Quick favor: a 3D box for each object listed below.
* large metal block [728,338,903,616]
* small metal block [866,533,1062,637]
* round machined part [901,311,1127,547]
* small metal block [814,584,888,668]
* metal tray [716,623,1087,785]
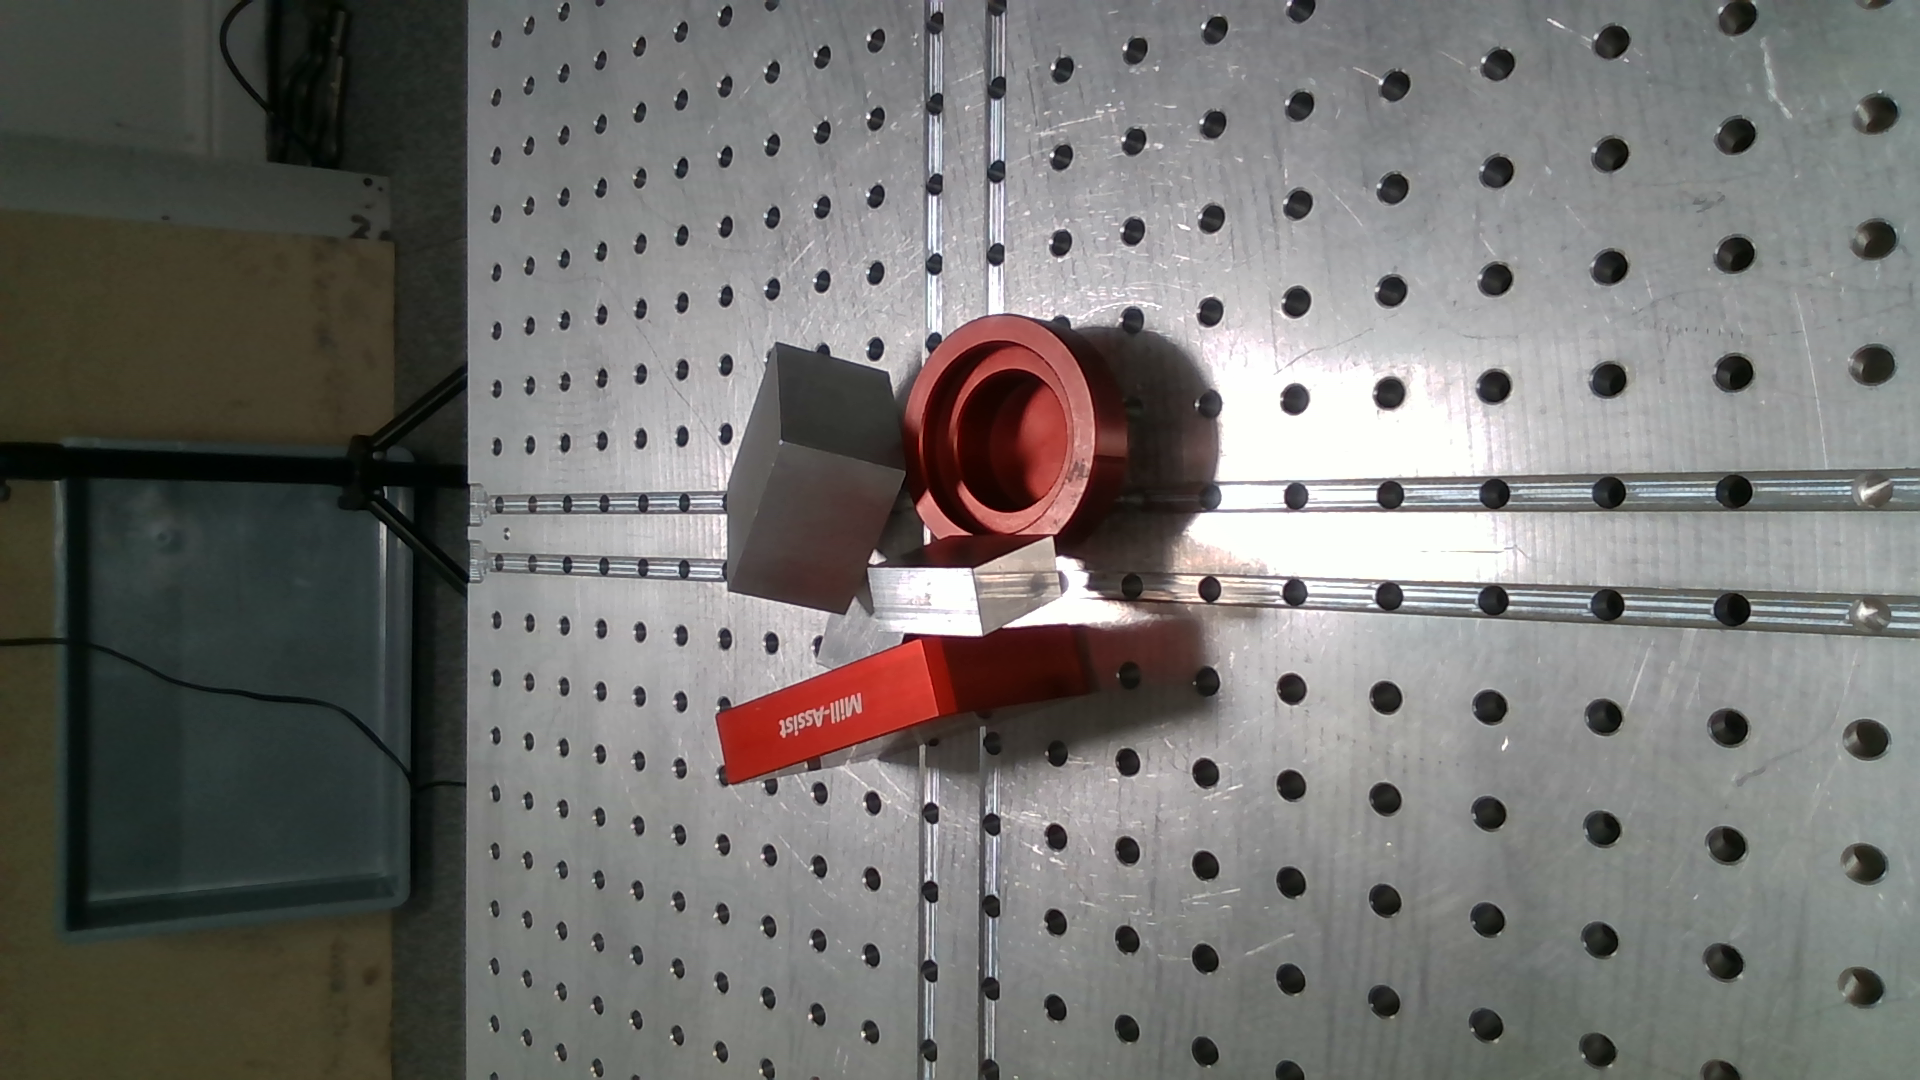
[{"bbox_3d":[-0.065,-0.027,0.594,0.080,0.050,0.080,-101,30,-52],"label":"large metal block"},{"bbox_3d":[0.002,0.016,0.514,0.050,0.050,0.025,0,104,39],"label":"small metal block"},{"bbox_3d":[0.026,-0.040,0.551,0.098,0.042,0.098,0,91,40],"label":"round machined part"},{"bbox_3d":[-0.032,0.039,0.606,0.050,0.025,0.050,16,89,44],"label":"small metal block"},{"bbox_3d":[-0.025,0.068,0.565,0.130,0.090,0.030,-23,76,38],"label":"metal tray"}]
